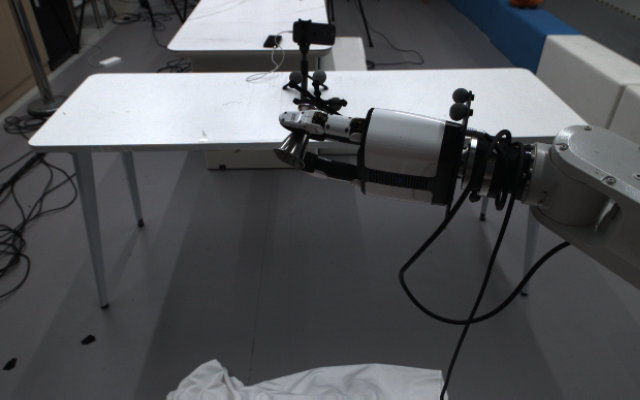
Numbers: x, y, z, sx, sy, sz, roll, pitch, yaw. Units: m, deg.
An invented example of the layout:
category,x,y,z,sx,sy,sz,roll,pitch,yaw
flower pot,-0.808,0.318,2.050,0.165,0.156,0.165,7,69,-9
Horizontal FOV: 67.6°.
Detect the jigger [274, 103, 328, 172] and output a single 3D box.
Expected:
category,x,y,z,sx,sy,sz,roll,pitch,yaw
jigger,-0.025,-0.081,0.591,0.043,0.043,0.071,20,74,24
